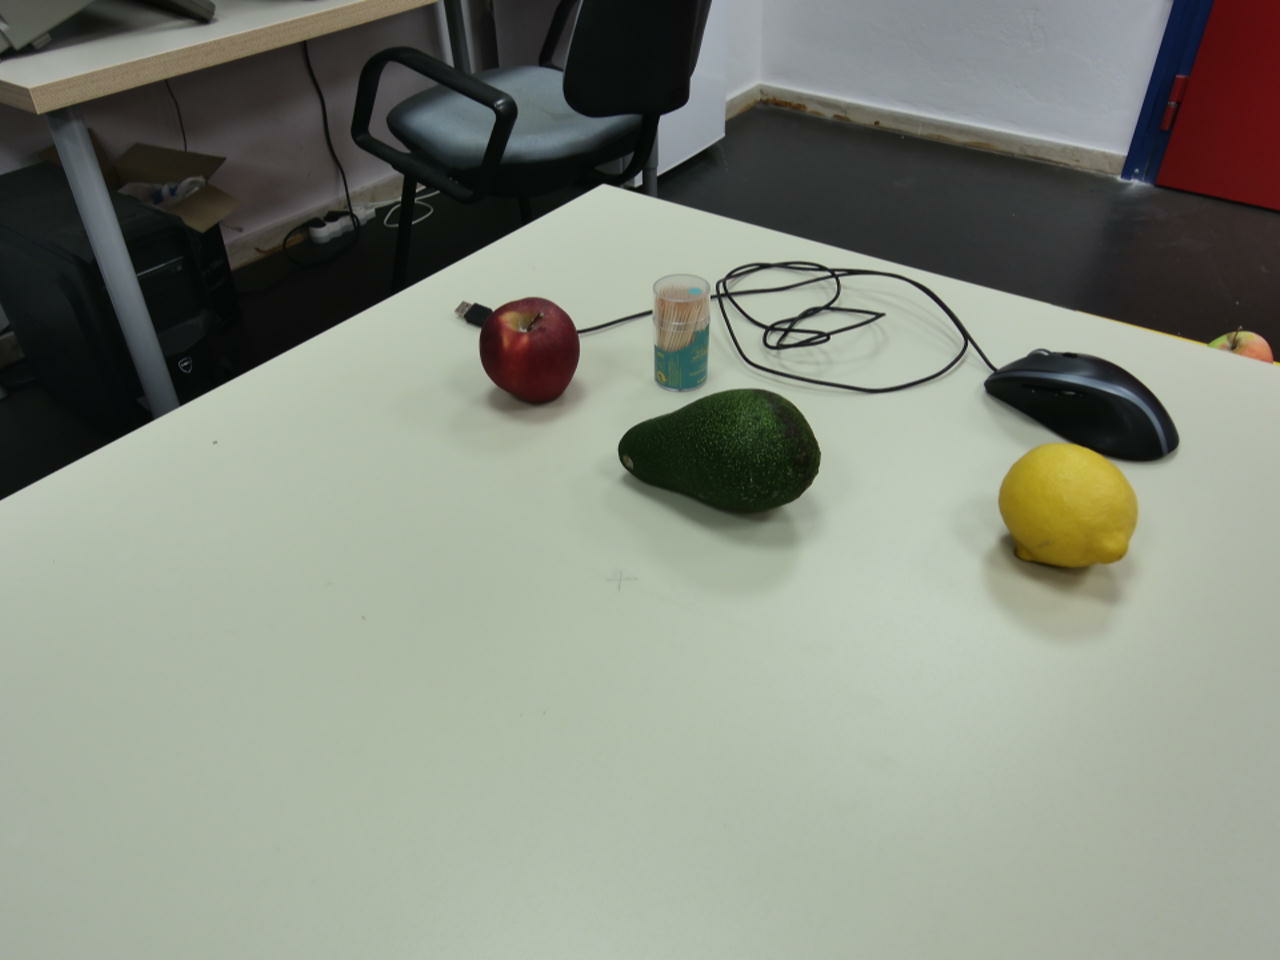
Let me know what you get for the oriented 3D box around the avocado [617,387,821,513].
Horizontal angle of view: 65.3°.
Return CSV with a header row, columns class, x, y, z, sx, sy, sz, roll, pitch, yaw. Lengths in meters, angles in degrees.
class,x,y,z,sx,sy,sz,roll,pitch,yaw
avocado,0.051,-0.024,0.596,0.123,0.076,0.074,29,47,33
